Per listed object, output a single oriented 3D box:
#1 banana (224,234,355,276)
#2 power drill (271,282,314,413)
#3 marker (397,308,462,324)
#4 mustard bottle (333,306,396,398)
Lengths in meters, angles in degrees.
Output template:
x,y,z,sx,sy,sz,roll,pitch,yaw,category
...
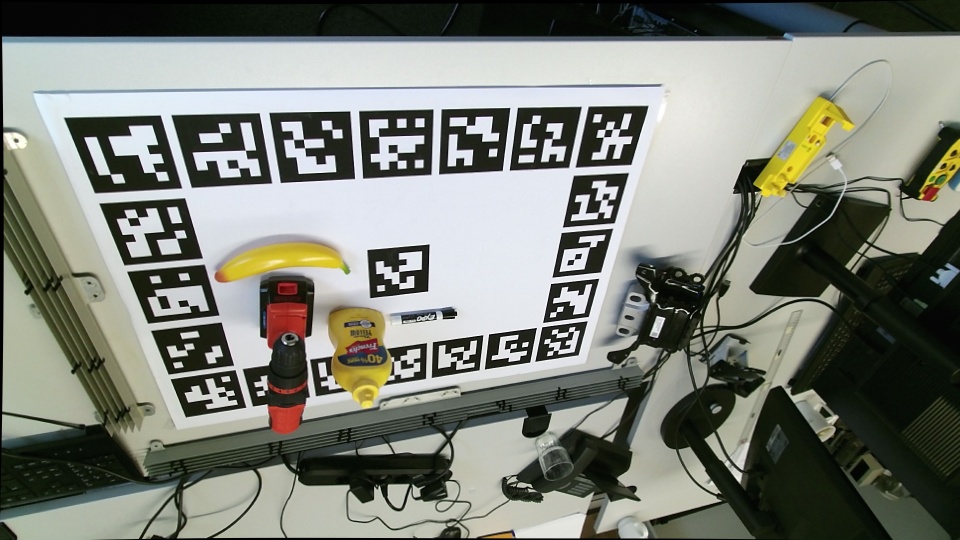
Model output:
x,y,z,sx,sy,sz,roll,pitch,yaw,category
-0.294,-0.022,0.841,0.198,0.038,0.074,0,122,-21,banana
-0.283,0.104,0.813,0.057,0.186,0.184,7,124,-21,power drill
-0.093,0.086,0.996,0.121,0.019,0.019,-4,124,-16,marker
-0.190,0.138,0.890,0.096,0.190,0.058,4,122,-20,mustard bottle
